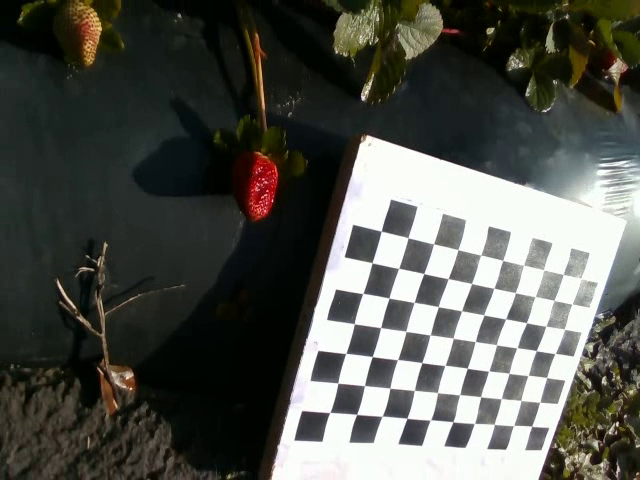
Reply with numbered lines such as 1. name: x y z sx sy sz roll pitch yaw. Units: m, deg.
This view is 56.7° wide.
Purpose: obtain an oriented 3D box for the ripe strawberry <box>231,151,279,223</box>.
1. ripe strawberry: -0.015 -0.013 0.138 0.015 0.023 0.015 21 -48 -29
